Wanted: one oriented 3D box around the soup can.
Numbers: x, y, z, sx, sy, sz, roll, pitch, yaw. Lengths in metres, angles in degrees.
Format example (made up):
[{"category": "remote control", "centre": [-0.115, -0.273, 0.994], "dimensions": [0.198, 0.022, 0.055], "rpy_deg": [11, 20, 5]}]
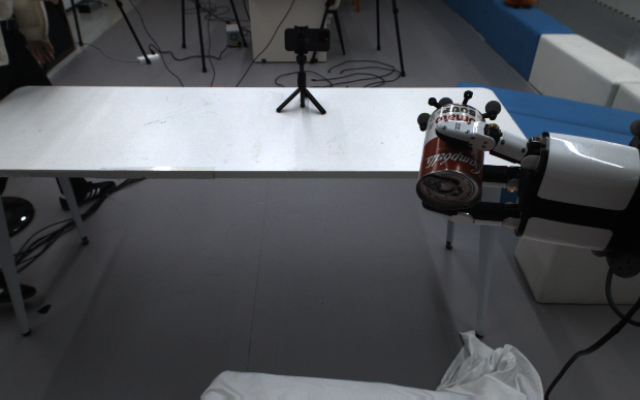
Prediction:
[{"category": "soup can", "centre": [0.148, -0.050, 0.538], "dimensions": [0.067, 0.067, 0.101], "rpy_deg": [9, 56, 10]}]
